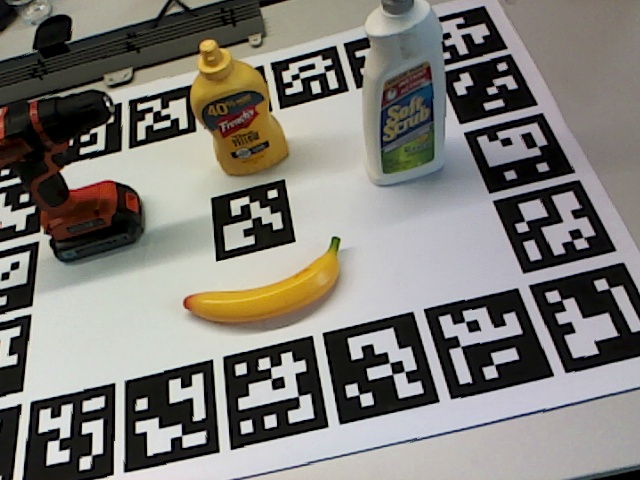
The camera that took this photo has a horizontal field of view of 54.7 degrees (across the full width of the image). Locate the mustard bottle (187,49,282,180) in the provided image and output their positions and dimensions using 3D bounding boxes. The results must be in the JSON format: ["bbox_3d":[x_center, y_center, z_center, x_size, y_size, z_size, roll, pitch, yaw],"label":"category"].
[{"bbox_3d":[-0.111,-0.157,0.768,0.096,0.190,0.059,-20,56,-2],"label":"mustard bottle"}]

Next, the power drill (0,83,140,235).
[{"bbox_3d":[-0.292,-0.090,0.730,0.185,0.186,0.057,-21,56,4],"label":"power drill"}]

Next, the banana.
[{"bbox_3d":[-0.067,0.052,0.704,0.197,0.038,0.074,-20,58,4],"label":"banana"}]

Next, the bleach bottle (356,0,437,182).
[{"bbox_3d":[0.079,-0.167,0.693,0.103,0.249,0.068,-7,57,8],"label":"bleach bottle"}]
